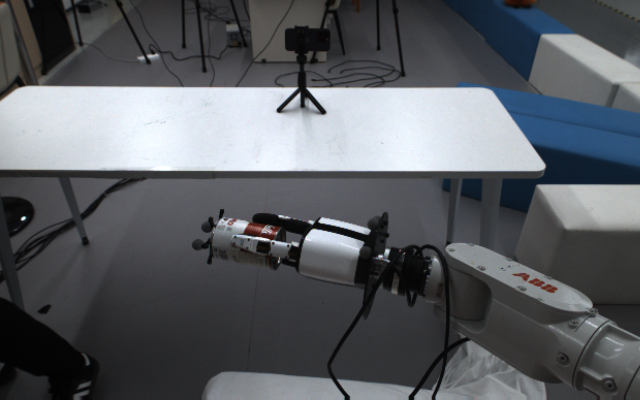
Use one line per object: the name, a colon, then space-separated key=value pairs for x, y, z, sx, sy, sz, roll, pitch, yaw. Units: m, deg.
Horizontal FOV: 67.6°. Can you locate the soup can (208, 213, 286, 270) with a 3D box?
soup can: x=-0.109 y=0.068 z=0.750 sx=0.101 sy=0.067 sz=0.067 roll=9 pitch=35 yaw=11
